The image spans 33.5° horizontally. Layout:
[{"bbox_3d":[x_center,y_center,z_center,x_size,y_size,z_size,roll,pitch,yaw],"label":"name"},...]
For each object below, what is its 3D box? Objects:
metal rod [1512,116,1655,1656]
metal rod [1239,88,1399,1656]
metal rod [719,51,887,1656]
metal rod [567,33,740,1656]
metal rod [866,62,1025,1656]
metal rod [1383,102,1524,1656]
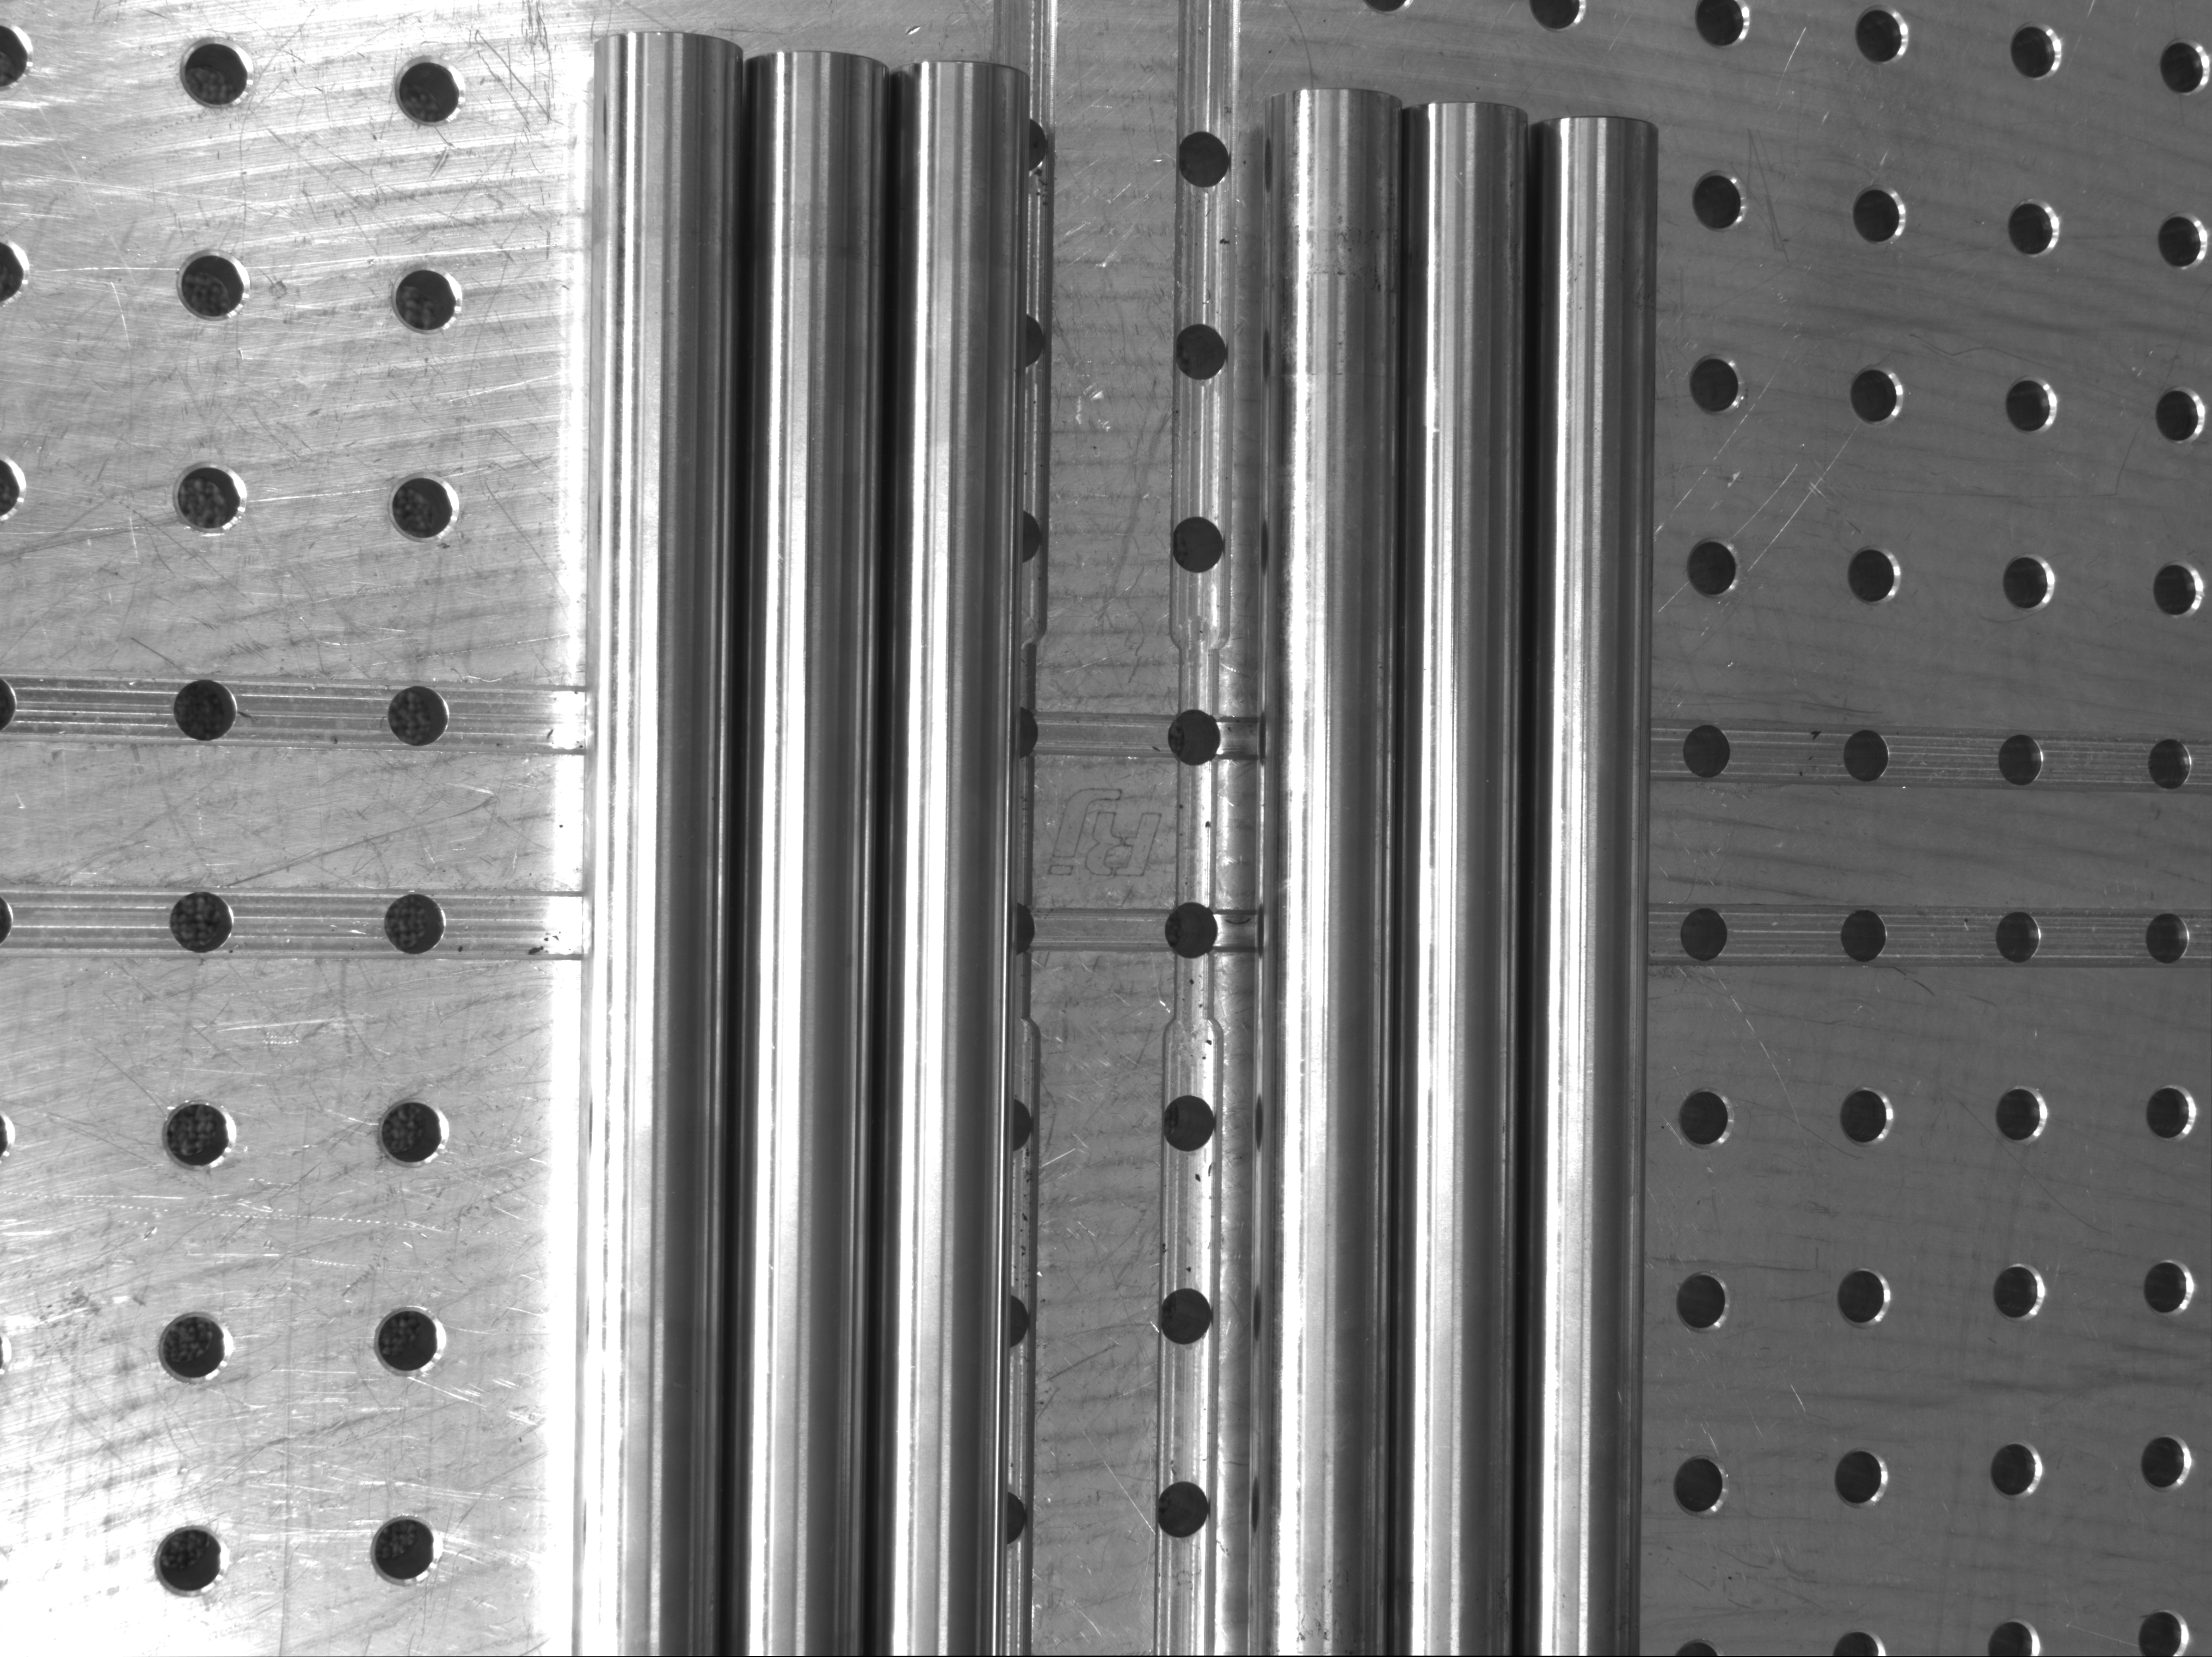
[{"bbox_3d":[0.087,0.021,0.677,0.025,0.025,0.300,1,90,-20],"label":"metal rod"},{"bbox_3d":[0.038,0.019,0.659,0.025,0.025,0.300,1,90,-20],"label":"metal rod"},{"bbox_3d":[-0.052,0.020,0.626,0.025,0.025,0.300,1,90,-20],"label":"metal rod"},{"bbox_3d":[-0.076,0.019,0.618,0.025,0.025,0.300,1,90,-20],"label":"metal rod"},{"bbox_3d":[-0.028,0.020,0.635,0.025,0.025,0.300,1,90,-20],"label":"metal rod"},{"bbox_3d":[0.062,0.020,0.668,0.025,0.025,0.300,1,90,-20],"label":"metal rod"}]
